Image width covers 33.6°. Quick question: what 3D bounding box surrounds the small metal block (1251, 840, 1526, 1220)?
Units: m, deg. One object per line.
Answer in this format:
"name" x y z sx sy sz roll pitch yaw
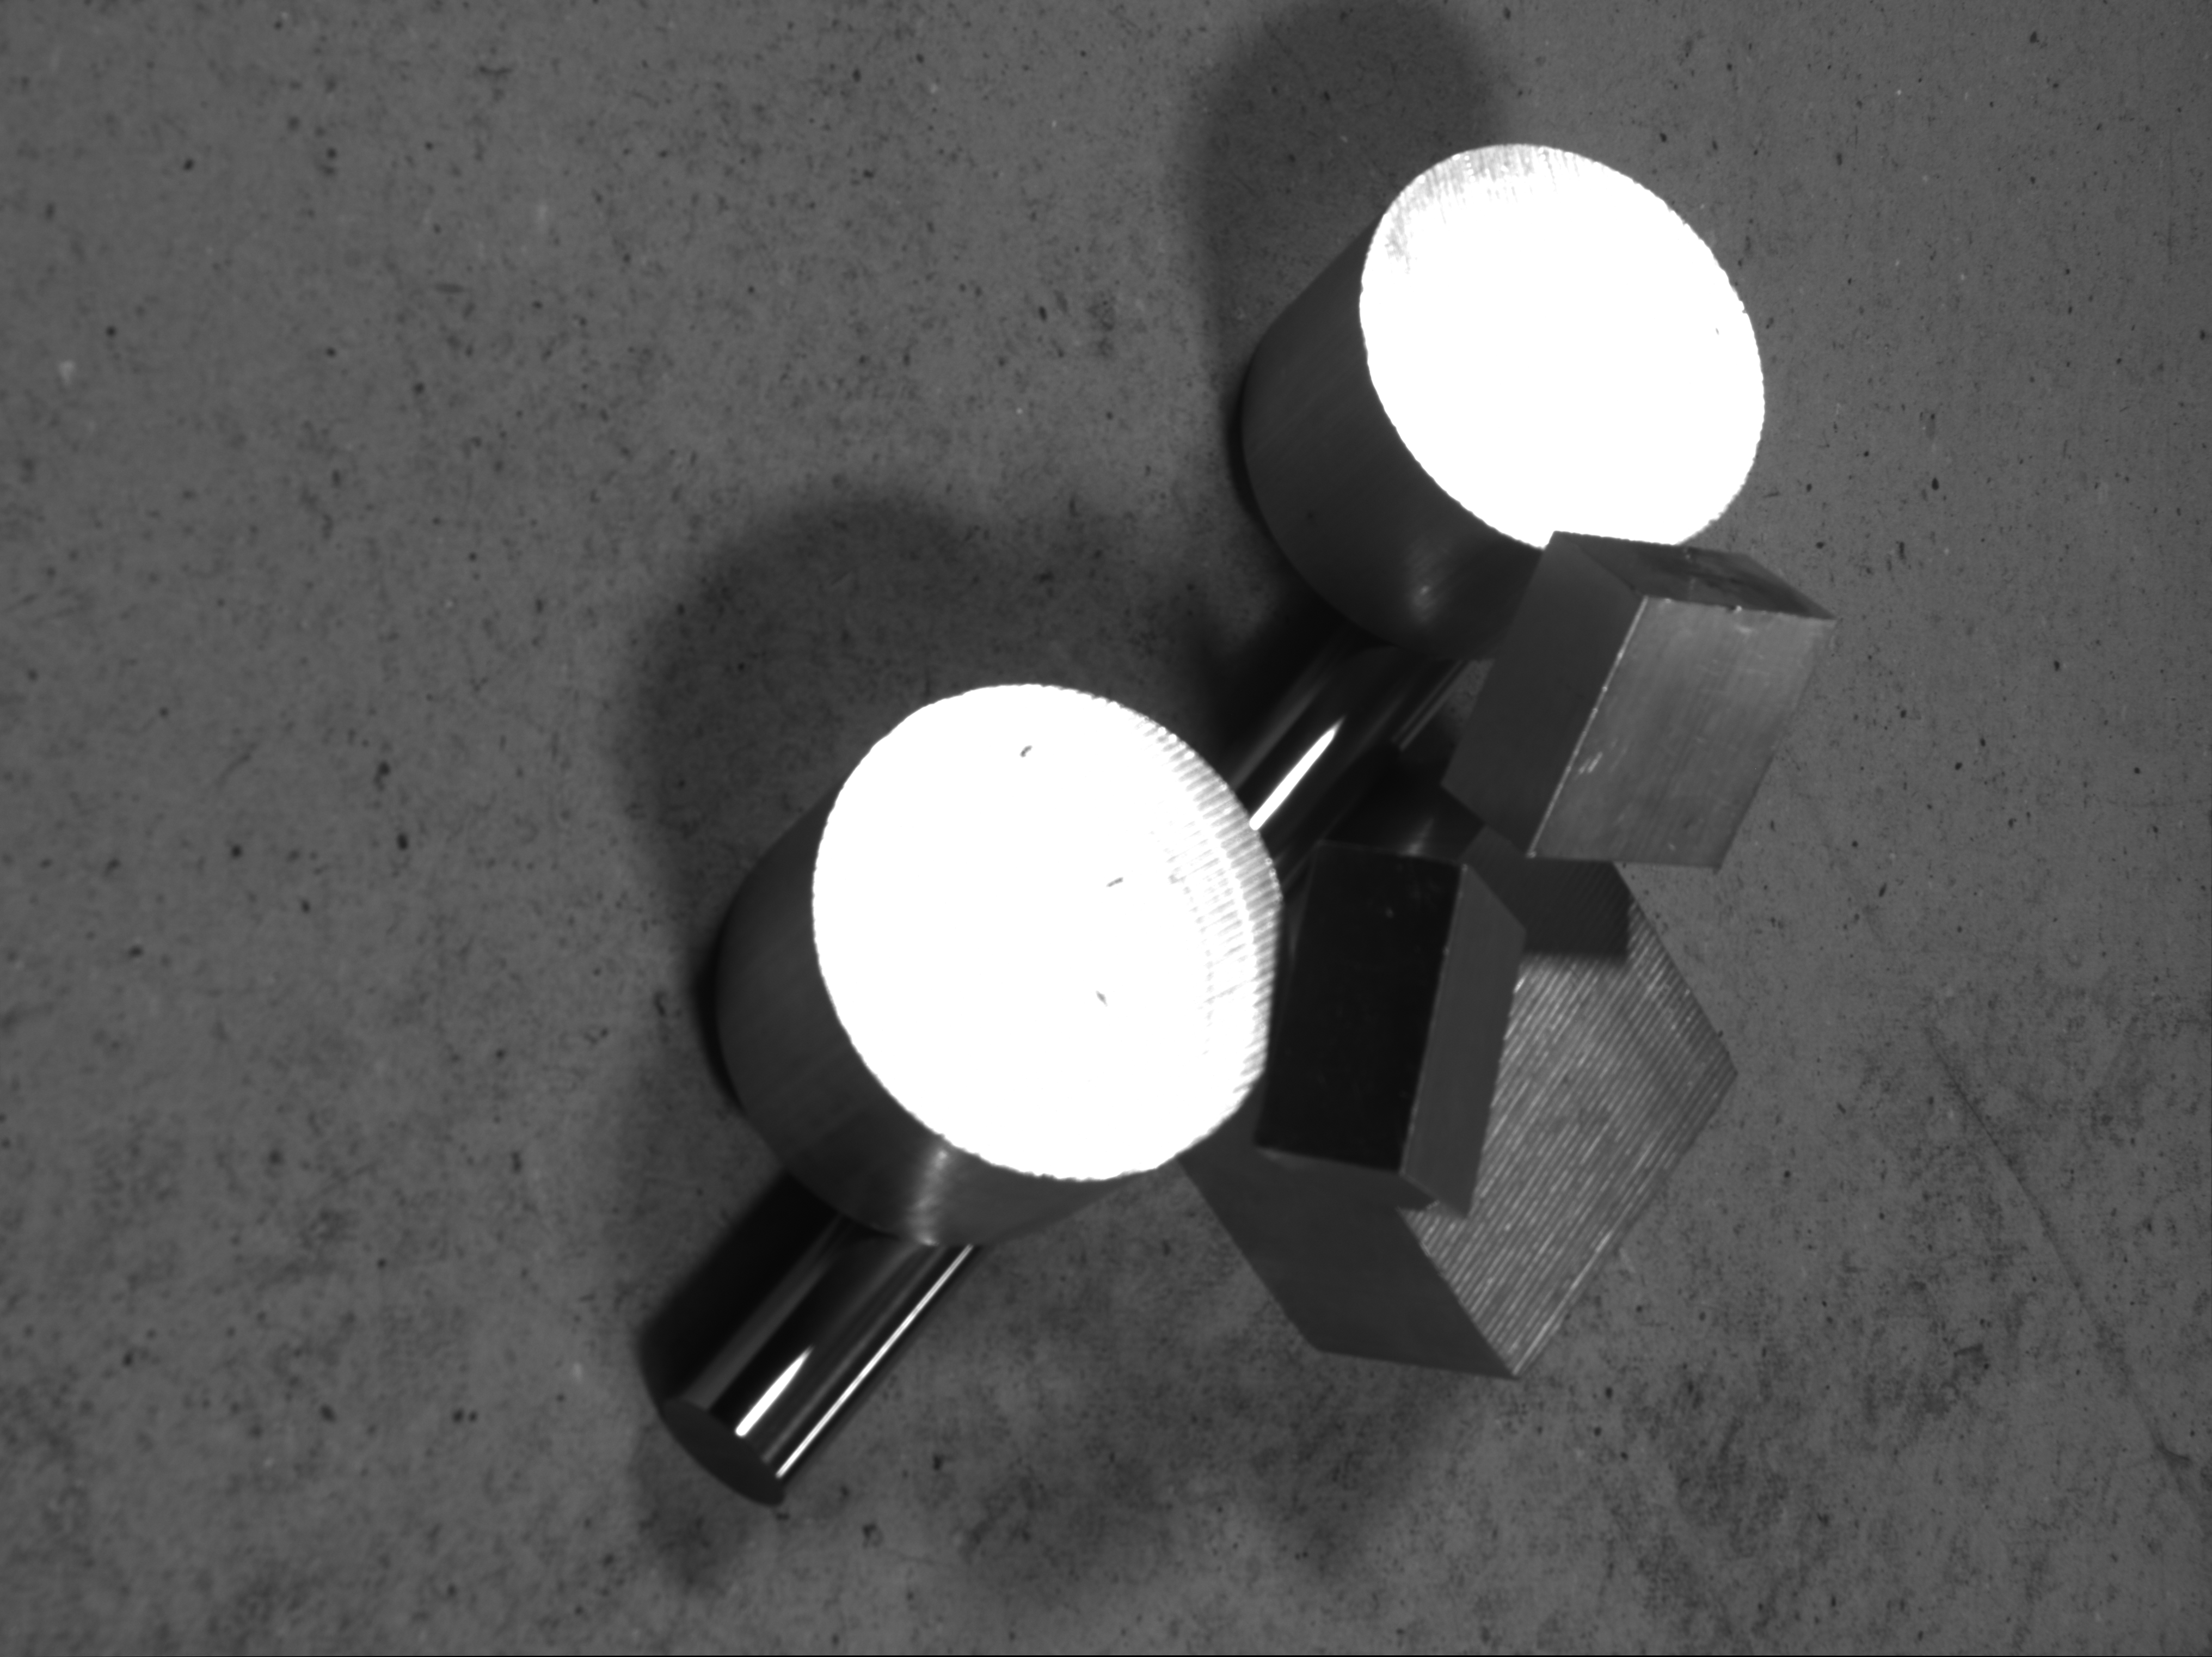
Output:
"small metal block" 0.047 0.034 0.596 0.050 0.025 0.050 39 62 -68

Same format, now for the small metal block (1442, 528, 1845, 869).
"small metal block" 0.093 -0.022 0.634 0.050 0.025 0.050 3 118 -40

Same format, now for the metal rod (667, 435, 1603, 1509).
"metal rod" 0.026 0.001 0.659 0.300 0.025 0.025 -49 119 -29

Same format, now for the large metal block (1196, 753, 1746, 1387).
"large metal block" 0.060 0.042 0.669 0.080 0.050 0.080 -49 119 -29

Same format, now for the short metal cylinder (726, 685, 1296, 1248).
"short metal cylinder" -0.016 0.023 0.590 0.080 0.050 0.080 8 69 -21

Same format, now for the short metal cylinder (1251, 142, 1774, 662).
"short metal cylinder" 0.073 -0.076 0.663 0.080 0.050 0.080 8 69 -21
